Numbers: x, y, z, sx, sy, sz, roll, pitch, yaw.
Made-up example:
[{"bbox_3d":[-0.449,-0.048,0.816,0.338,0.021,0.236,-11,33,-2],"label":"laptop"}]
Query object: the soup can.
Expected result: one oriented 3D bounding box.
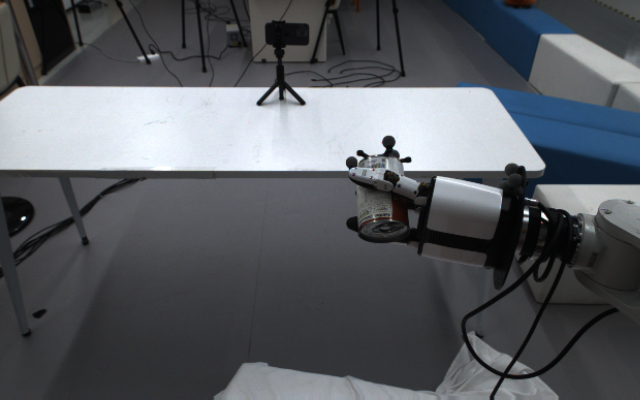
[{"bbox_3d":[0.084,-0.002,0.651,0.067,0.067,0.101,1,62,-2],"label":"soup can"}]
